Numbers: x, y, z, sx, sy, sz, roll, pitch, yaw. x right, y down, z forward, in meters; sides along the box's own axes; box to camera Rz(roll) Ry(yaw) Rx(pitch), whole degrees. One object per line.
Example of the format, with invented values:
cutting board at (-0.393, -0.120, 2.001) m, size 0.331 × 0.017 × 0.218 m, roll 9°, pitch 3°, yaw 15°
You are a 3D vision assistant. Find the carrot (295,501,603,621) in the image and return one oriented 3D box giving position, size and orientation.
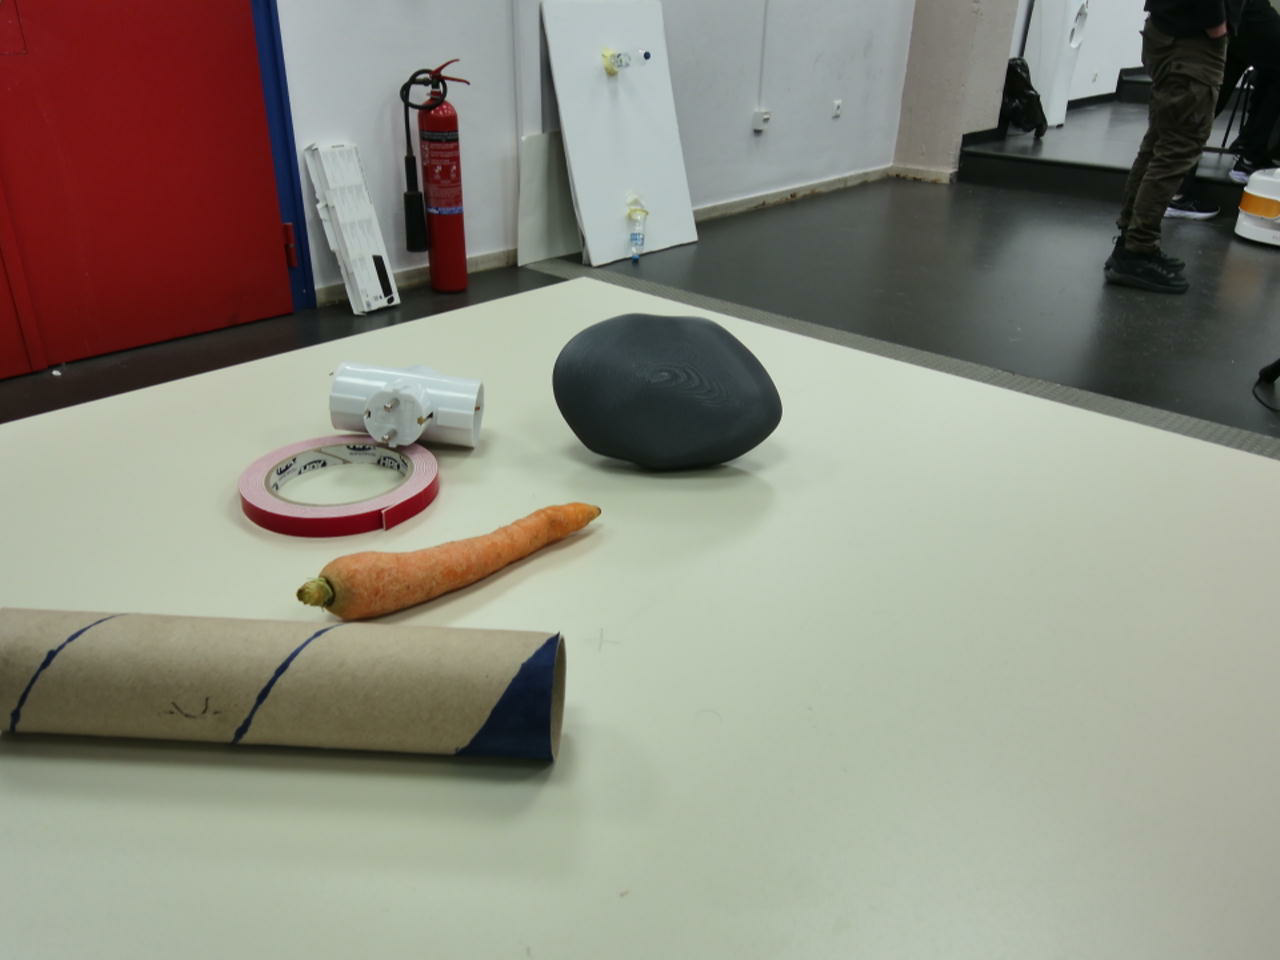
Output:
carrot at (-0.085, 0.035, 0.490) m, size 0.173 × 0.032 × 0.030 m, roll -19°, pitch 31°, yaw -36°
